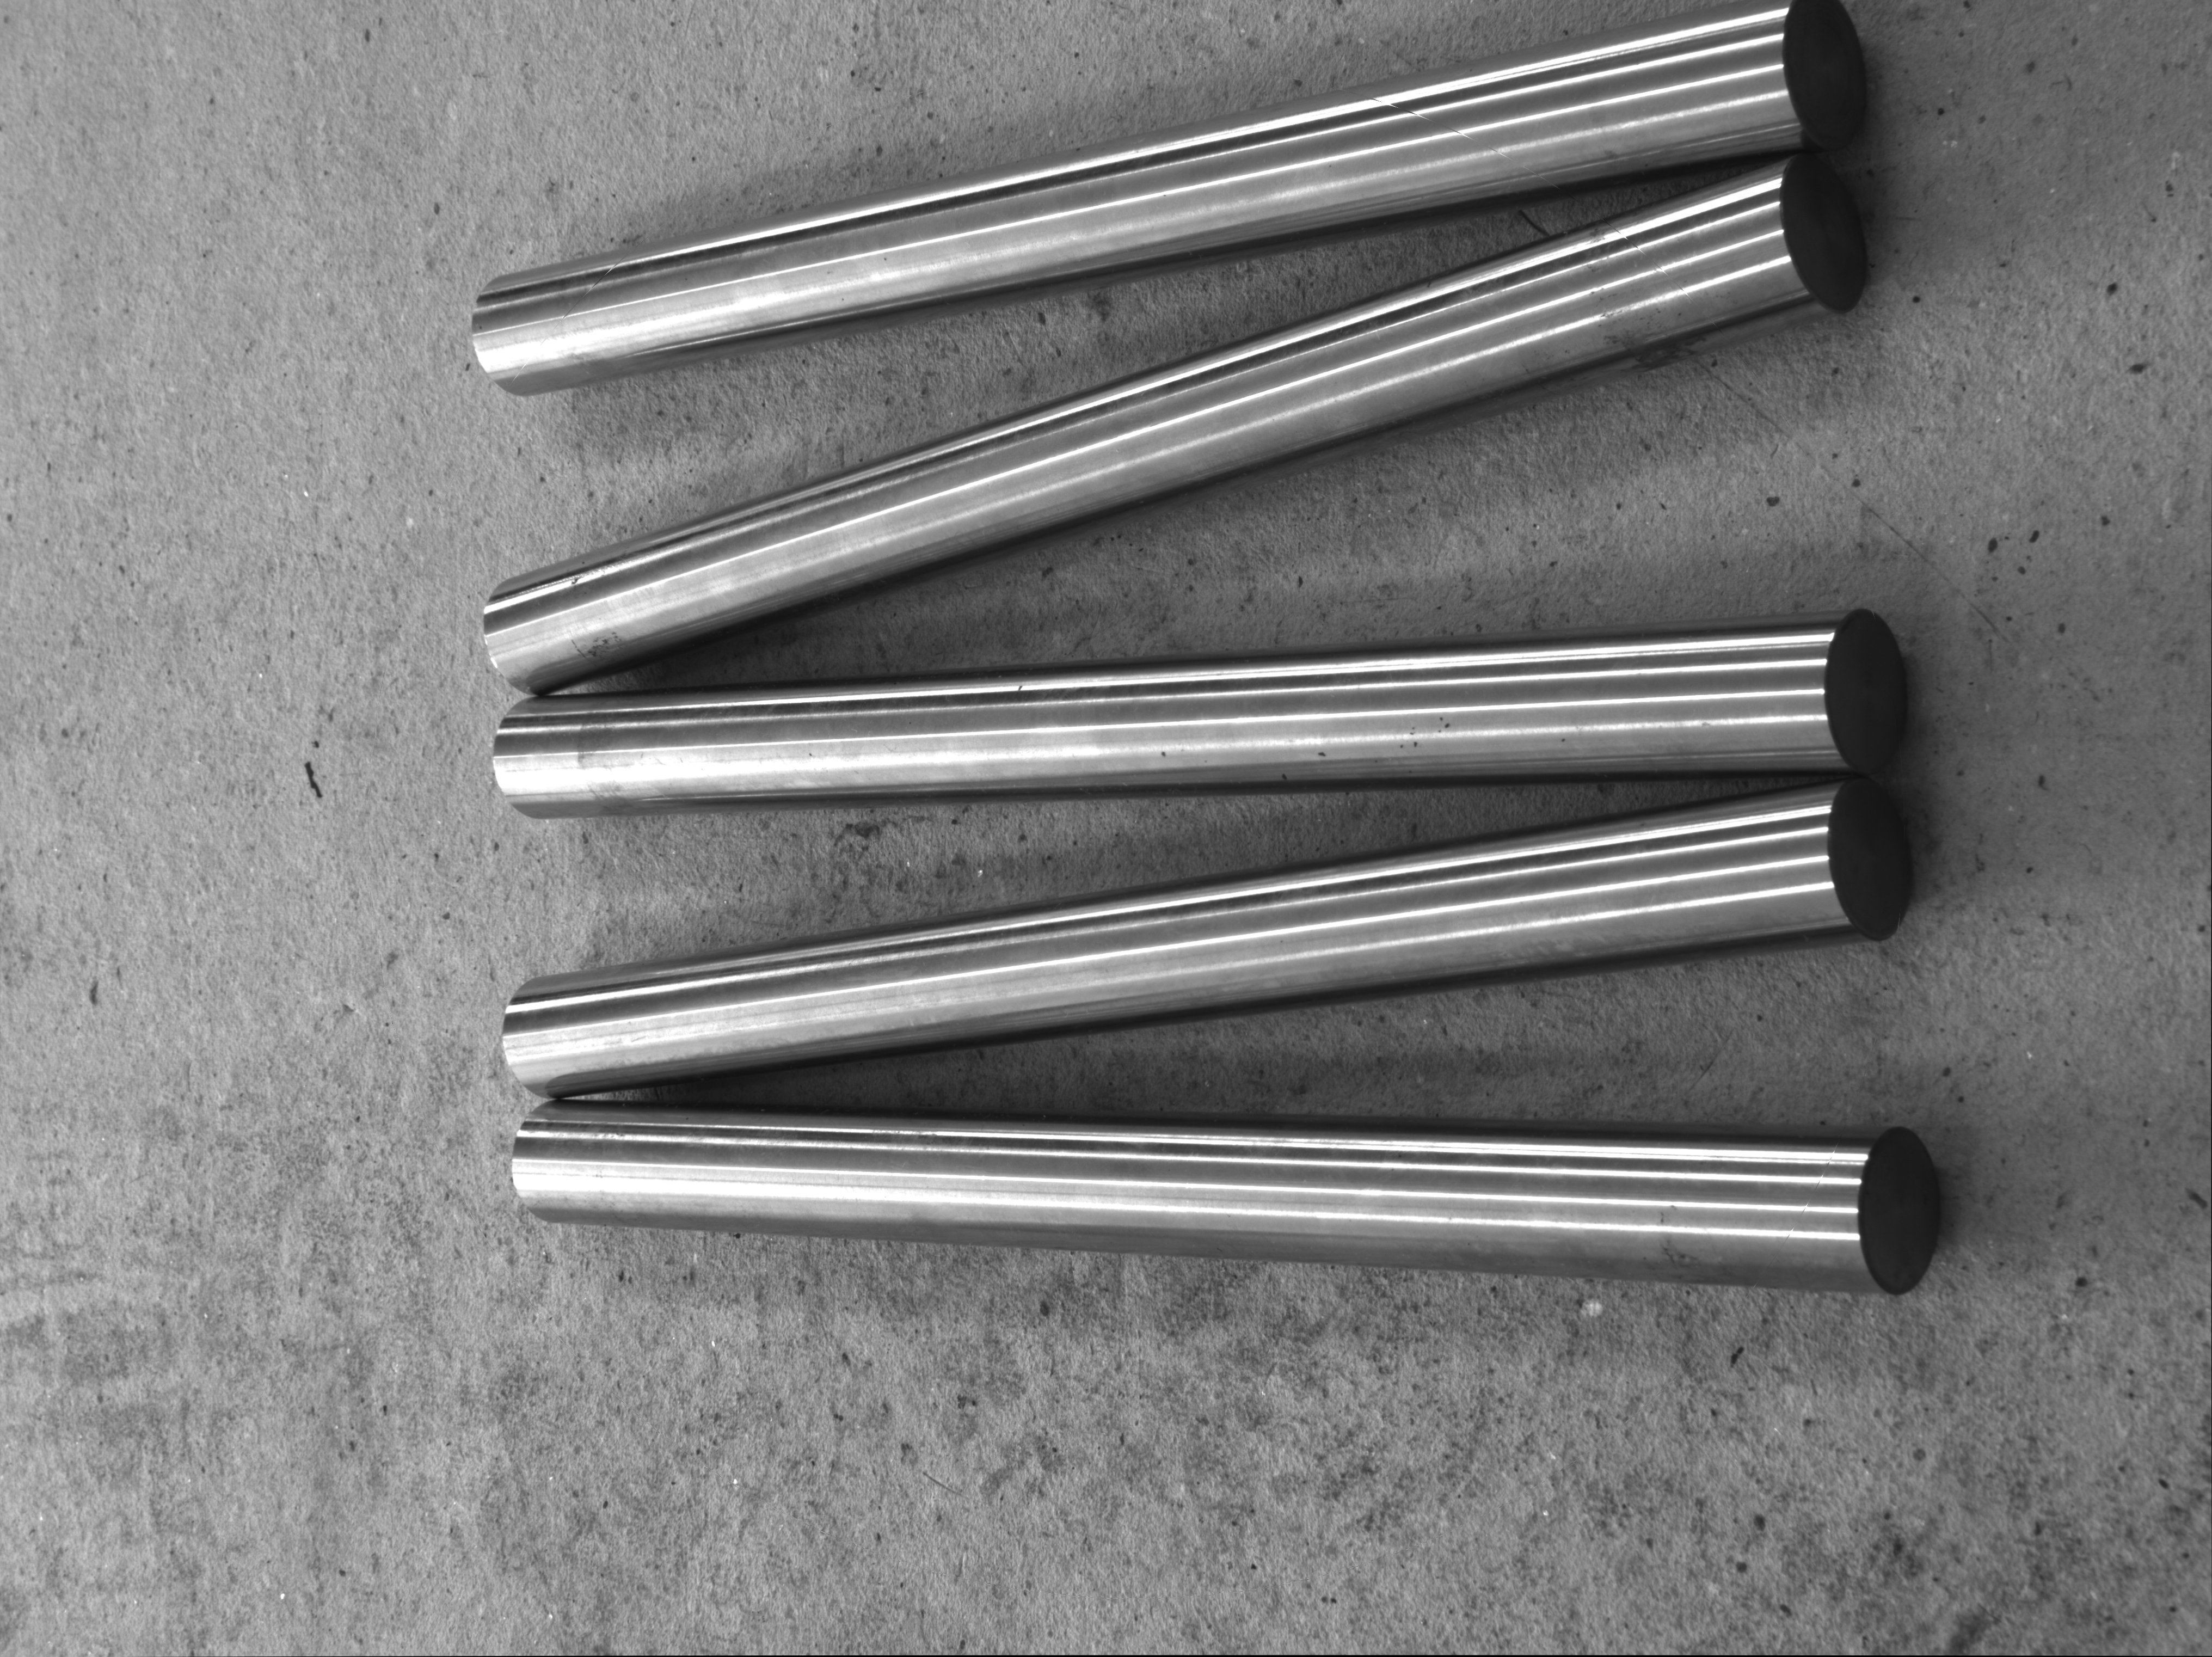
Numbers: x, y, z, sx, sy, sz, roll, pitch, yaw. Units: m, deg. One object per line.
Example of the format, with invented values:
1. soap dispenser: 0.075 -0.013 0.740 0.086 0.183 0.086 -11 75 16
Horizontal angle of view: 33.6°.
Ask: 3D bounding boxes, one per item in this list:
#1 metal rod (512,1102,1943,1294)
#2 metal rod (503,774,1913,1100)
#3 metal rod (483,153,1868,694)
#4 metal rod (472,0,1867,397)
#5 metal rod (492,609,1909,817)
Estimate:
1. metal rod: 0.004 0.062 0.642 0.299 0.025 0.025 -3 88 40
2. metal rod: 0.001 0.023 0.644 0.299 0.025 0.025 -10 84 40
3. metal rod: -0.004 -0.064 0.649 0.299 0.025 0.025 -13 82 39
4. metal rod: -0.005 -0.108 0.650 0.299 0.025 0.025 -4 88 40
5. metal rod: 0.000 -0.017 0.645 0.299 0.025 0.025 -2 89 40
